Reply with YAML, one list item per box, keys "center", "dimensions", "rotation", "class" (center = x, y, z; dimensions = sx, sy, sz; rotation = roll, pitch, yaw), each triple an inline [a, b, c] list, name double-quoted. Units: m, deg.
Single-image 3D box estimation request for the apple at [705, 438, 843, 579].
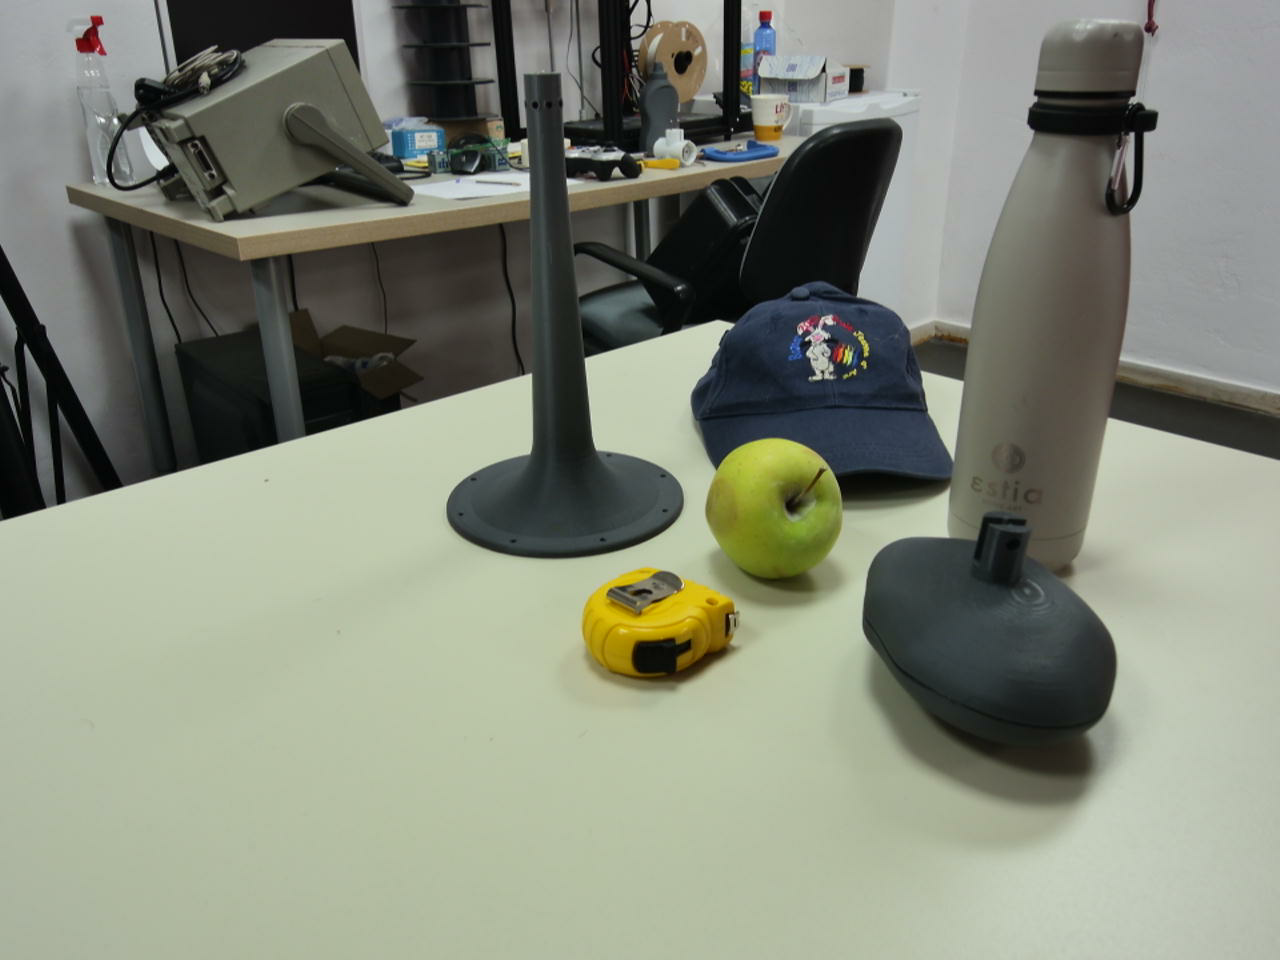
- center: [0.072, 0.014, 0.541]
  dimensions: [0.072, 0.075, 0.077]
  rotation: [1, 23, 2]
  class: "apple"
